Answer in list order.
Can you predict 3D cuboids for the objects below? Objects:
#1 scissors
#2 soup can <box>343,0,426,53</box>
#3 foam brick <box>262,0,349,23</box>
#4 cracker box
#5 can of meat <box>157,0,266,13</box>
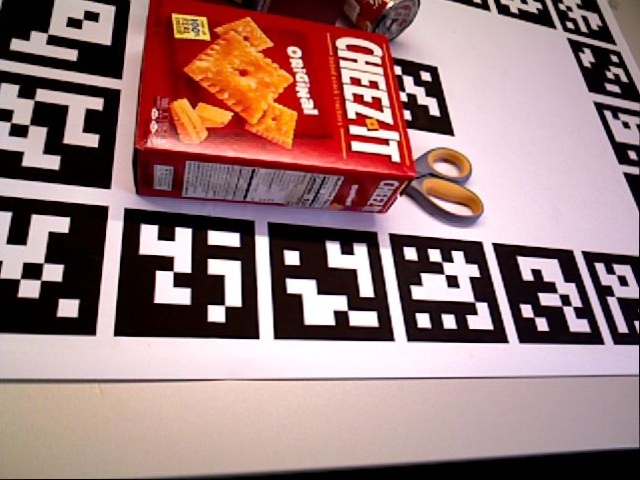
[{"bbox_3d":[0.064,-0.051,0.503,0.200,0.016,0.087,1,66,-21],"label":"scissors"},{"bbox_3d":[0.056,-0.264,0.597,0.066,0.069,0.102,-35,76,-32],"label":"soup can"},{"bbox_3d":[-0.018,-0.247,0.560,0.077,0.052,0.052,-5,68,-24],"label":"foam brick"},{"bbox_3d":[-0.035,-0.107,0.453,0.211,0.073,0.163,-1,65,-18],"label":"cracker box"},{"bbox_3d":[-0.097,-0.235,0.499,0.101,0.085,0.057,18,60,-13],"label":"can of meat"}]
